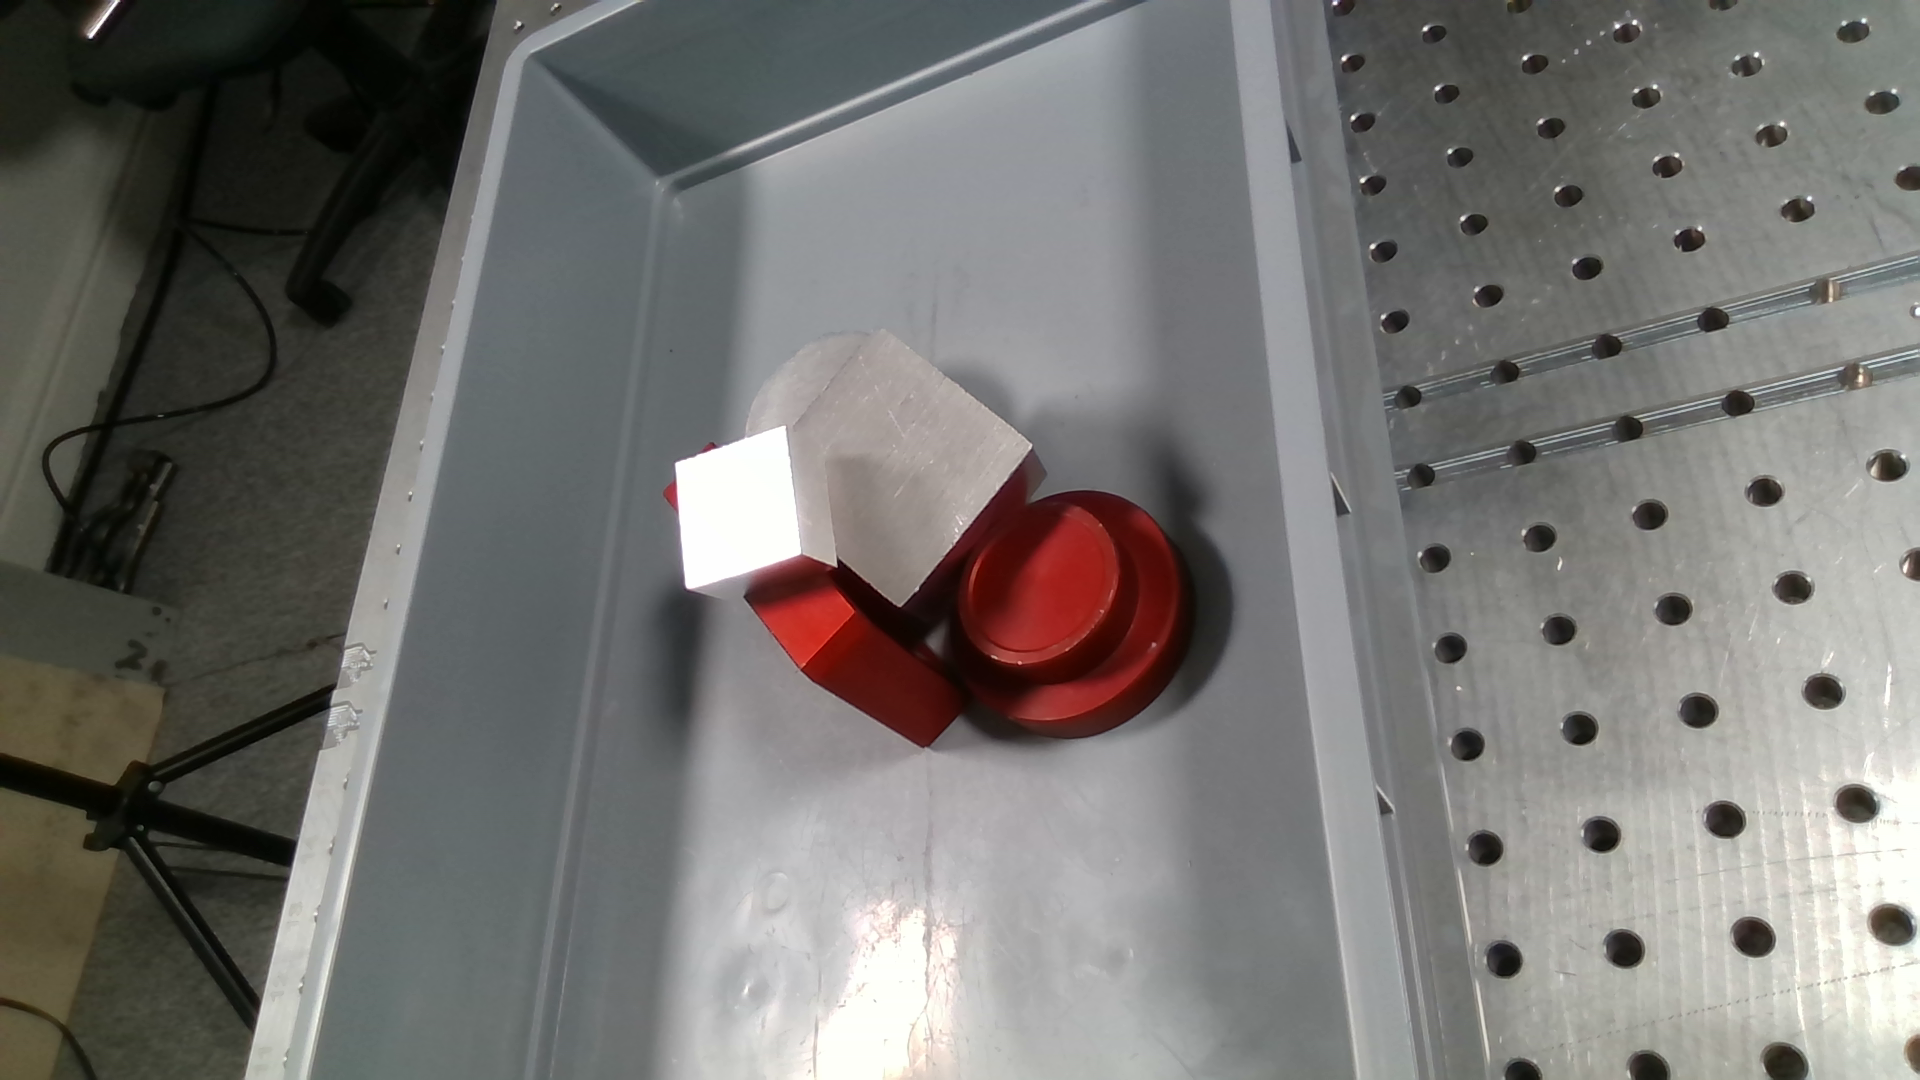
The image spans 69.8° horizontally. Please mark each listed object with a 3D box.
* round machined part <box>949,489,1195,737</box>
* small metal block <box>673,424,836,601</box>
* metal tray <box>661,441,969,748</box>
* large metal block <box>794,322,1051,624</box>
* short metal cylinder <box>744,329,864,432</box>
[{"bbox_3d":[0.038,0.024,0.537,0.098,0.042,0.098,-14,59,25],"label":"round machined part"},{"bbox_3d":[-0.077,-0.009,0.513,0.050,0.025,0.050,-16,71,23],"label":"small metal block"},{"bbox_3d":[-0.060,0.022,0.567,0.030,0.090,0.130,-46,51,1],"label":"metal tray"},{"bbox_3d":[-0.023,-0.025,0.549,0.080,0.050,0.080,39,89,14],"label":"large metal block"},{"bbox_3d":[-0.051,-0.048,0.624,0.080,0.050,0.080,-14,59,25],"label":"short metal cylinder"}]
